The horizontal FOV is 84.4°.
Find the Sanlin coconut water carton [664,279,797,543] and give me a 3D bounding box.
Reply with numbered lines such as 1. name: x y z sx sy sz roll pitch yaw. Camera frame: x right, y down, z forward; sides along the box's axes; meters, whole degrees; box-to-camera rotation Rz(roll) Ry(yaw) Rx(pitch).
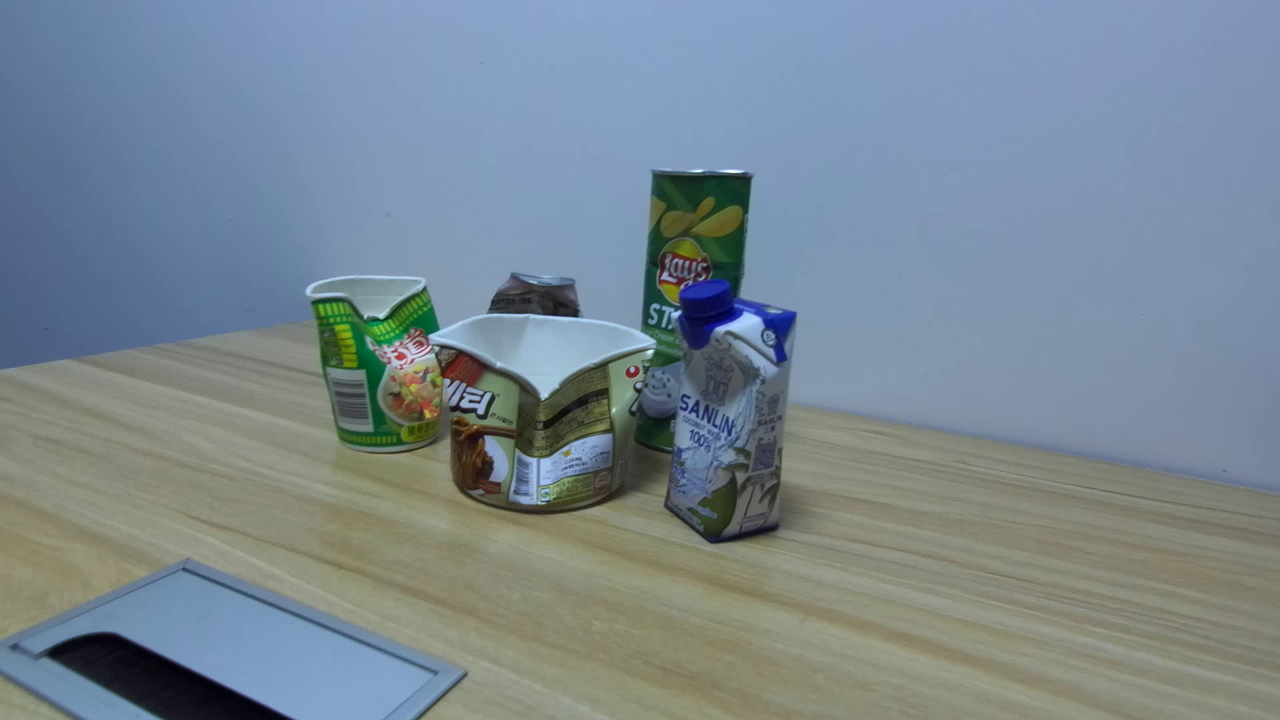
1. Sanlin coconut water carton: 0.049 0.026 0.398 0.058 0.142 0.077 -10 18 -28

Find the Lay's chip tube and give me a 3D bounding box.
1. Lay's chip tube: 0.037 -0.036 0.516 0.075 0.199 0.069 5 15 8

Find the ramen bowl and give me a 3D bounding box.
1. ramen bowl: -0.057 0.026 0.455 0.137 0.098 0.137 6 13 -1

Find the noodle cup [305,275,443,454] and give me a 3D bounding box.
1. noodle cup: -0.178 0.001 0.495 0.083 0.122 0.075 -14 13 -27

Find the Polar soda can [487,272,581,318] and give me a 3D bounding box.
1. Polar soda can: -0.082 -0.016 0.585 0.070 0.114 0.074 18 20 31
